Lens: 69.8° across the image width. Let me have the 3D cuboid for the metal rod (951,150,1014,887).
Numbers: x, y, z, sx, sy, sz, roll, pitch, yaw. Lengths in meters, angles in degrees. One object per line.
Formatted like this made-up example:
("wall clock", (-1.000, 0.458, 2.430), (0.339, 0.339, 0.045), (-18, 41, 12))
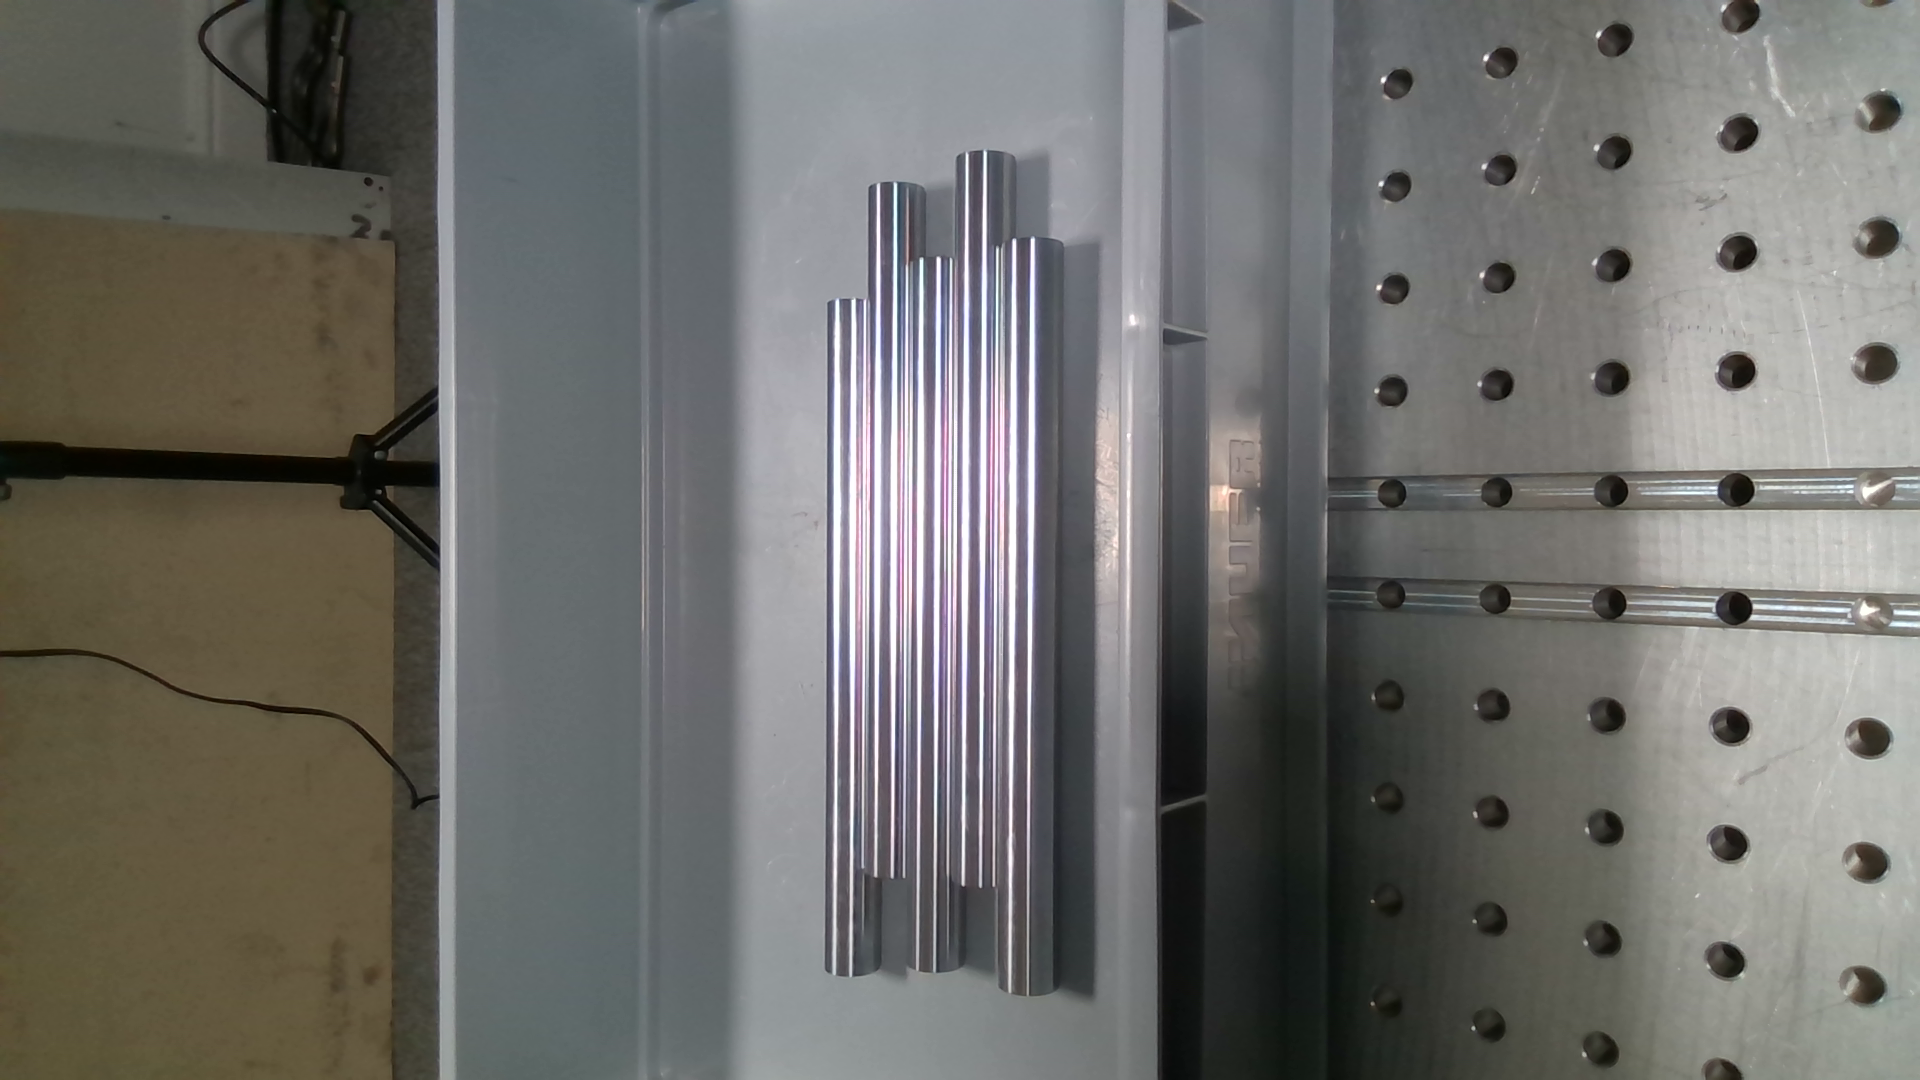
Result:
("metal rod", (0.010, -0.008, 0.573), (0.025, 0.025, 0.300), (1, 91, 40))

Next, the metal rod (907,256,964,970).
("metal rod", (-0.010, 0.031, 0.589), (0.025, 0.025, 0.300), (1, 91, 40))

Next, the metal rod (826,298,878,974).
("metal rod", (-0.048, 0.043, 0.622), (0.025, 0.025, 0.300), (1, 91, 40))

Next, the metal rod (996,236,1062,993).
("metal rod", (0.028, 0.030, 0.557), (0.025, 0.025, 0.300), (1, 91, 40))

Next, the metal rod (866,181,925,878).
("metal rod", (-0.029, -0.004, 0.605), (0.025, 0.025, 0.300), (1, 91, 40))
